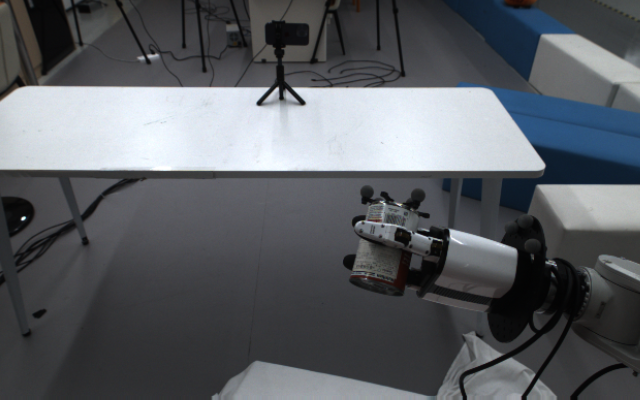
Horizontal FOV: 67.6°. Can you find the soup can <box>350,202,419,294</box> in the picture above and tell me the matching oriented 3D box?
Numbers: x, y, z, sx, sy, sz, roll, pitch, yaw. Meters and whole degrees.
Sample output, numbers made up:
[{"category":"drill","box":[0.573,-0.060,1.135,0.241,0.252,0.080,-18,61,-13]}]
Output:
[{"category":"soup can","box":[0.083,0.060,0.597,0.067,0.067,0.101,11,72,13]}]
